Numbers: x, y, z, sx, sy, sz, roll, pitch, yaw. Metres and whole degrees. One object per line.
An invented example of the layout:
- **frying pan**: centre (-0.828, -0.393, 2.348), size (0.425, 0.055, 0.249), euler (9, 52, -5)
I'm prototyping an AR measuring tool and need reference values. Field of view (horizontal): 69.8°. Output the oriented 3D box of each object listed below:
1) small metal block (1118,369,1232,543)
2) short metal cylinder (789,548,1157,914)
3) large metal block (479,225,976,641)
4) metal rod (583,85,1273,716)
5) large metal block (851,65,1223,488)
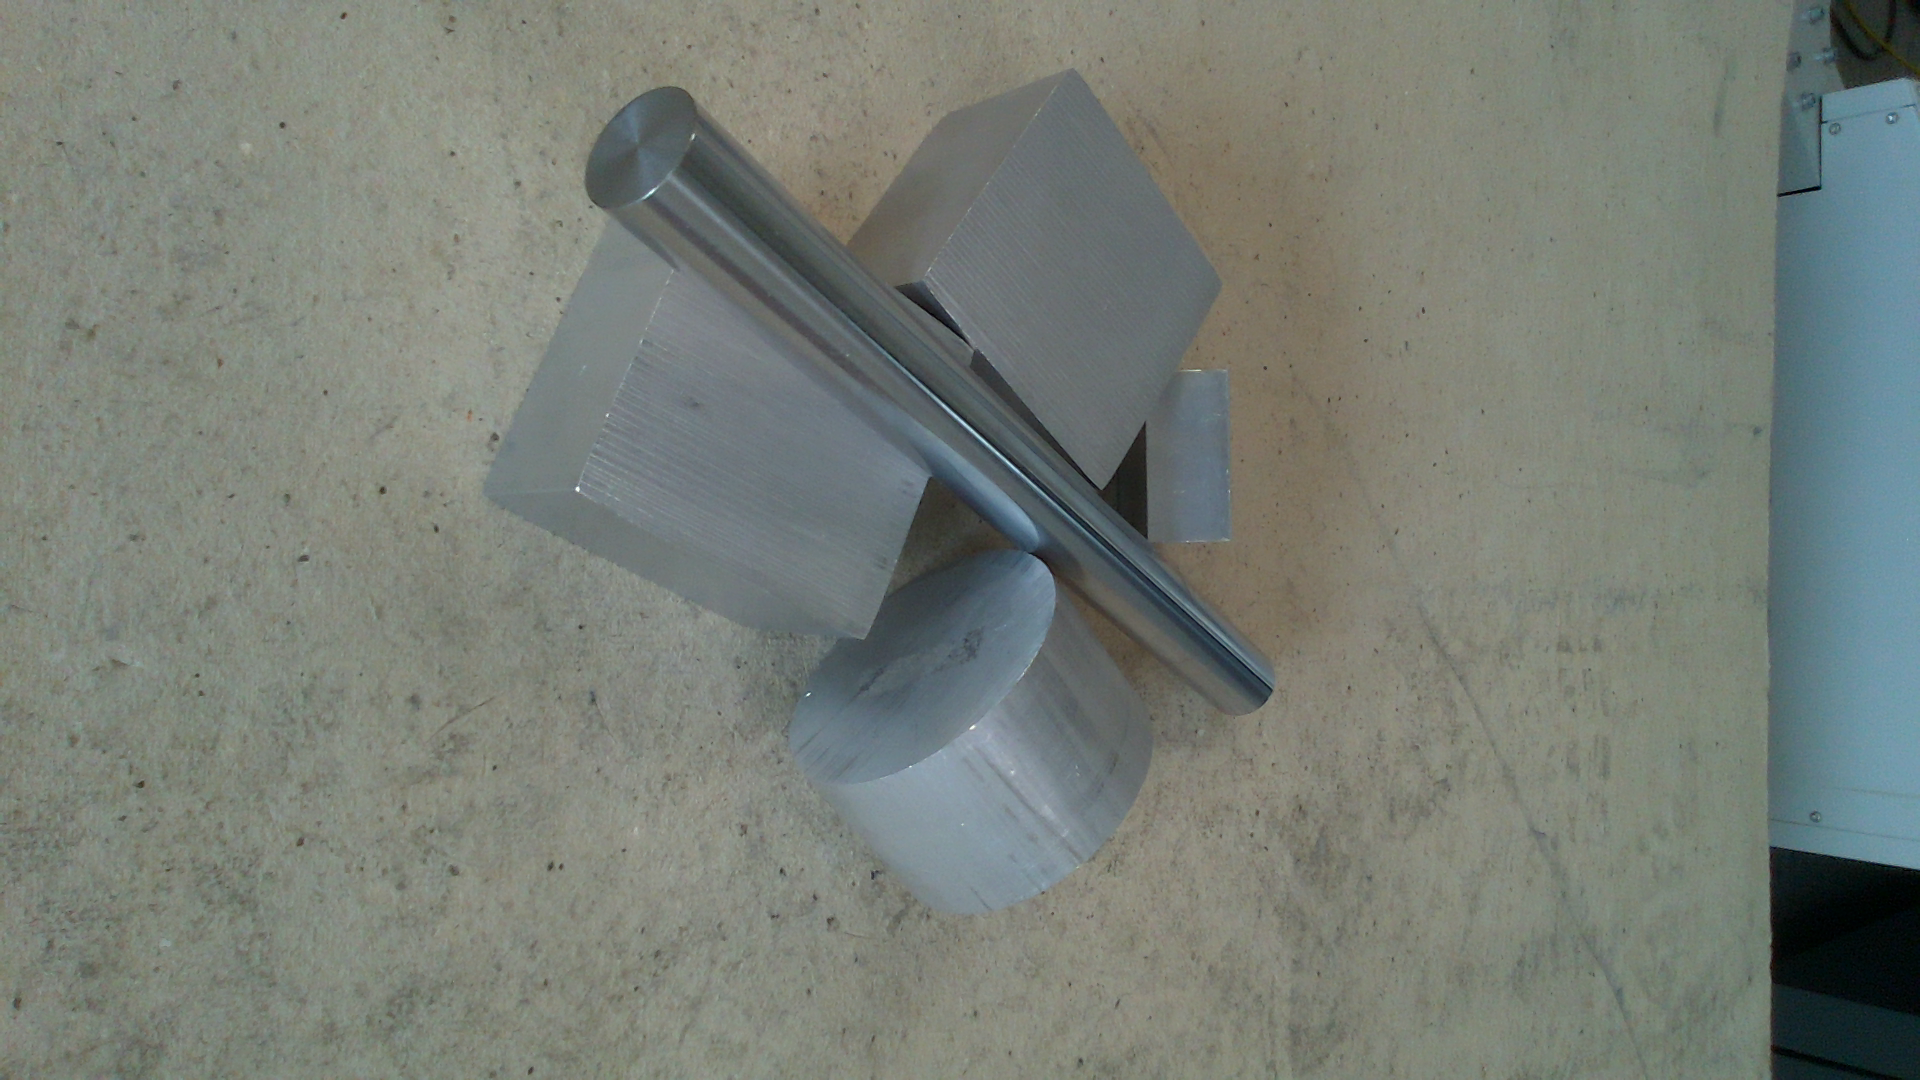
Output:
- **small metal block**: centre (0.064, -0.025, 0.424), size (0.025, 0.050, 0.050), euler (-1, 91, -4)
- **short metal cylinder**: centre (0.003, 0.048, 0.355), size (0.080, 0.080, 0.050), euler (-51, 120, -27)
- **large metal block**: centre (-0.053, -0.029, 0.328), size (0.080, 0.050, 0.080), euler (31, 71, -35)
- **metal rod**: centre (0.020, -0.010, 0.352), size (0.301, 0.025, 0.025), euler (38, 66, -51)
- **large metal block**: centre (0.017, -0.068, 0.384), size (0.080, 0.050, 0.080), euler (47, 62, -30)
